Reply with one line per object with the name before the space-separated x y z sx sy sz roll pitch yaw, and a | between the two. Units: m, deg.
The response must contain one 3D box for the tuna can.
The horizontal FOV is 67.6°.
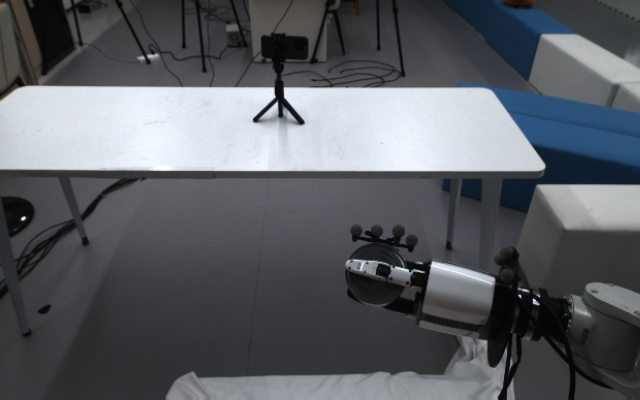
tuna can | 0.080 0.101 0.672 0.085 0.034 0.085 -3 68 7
